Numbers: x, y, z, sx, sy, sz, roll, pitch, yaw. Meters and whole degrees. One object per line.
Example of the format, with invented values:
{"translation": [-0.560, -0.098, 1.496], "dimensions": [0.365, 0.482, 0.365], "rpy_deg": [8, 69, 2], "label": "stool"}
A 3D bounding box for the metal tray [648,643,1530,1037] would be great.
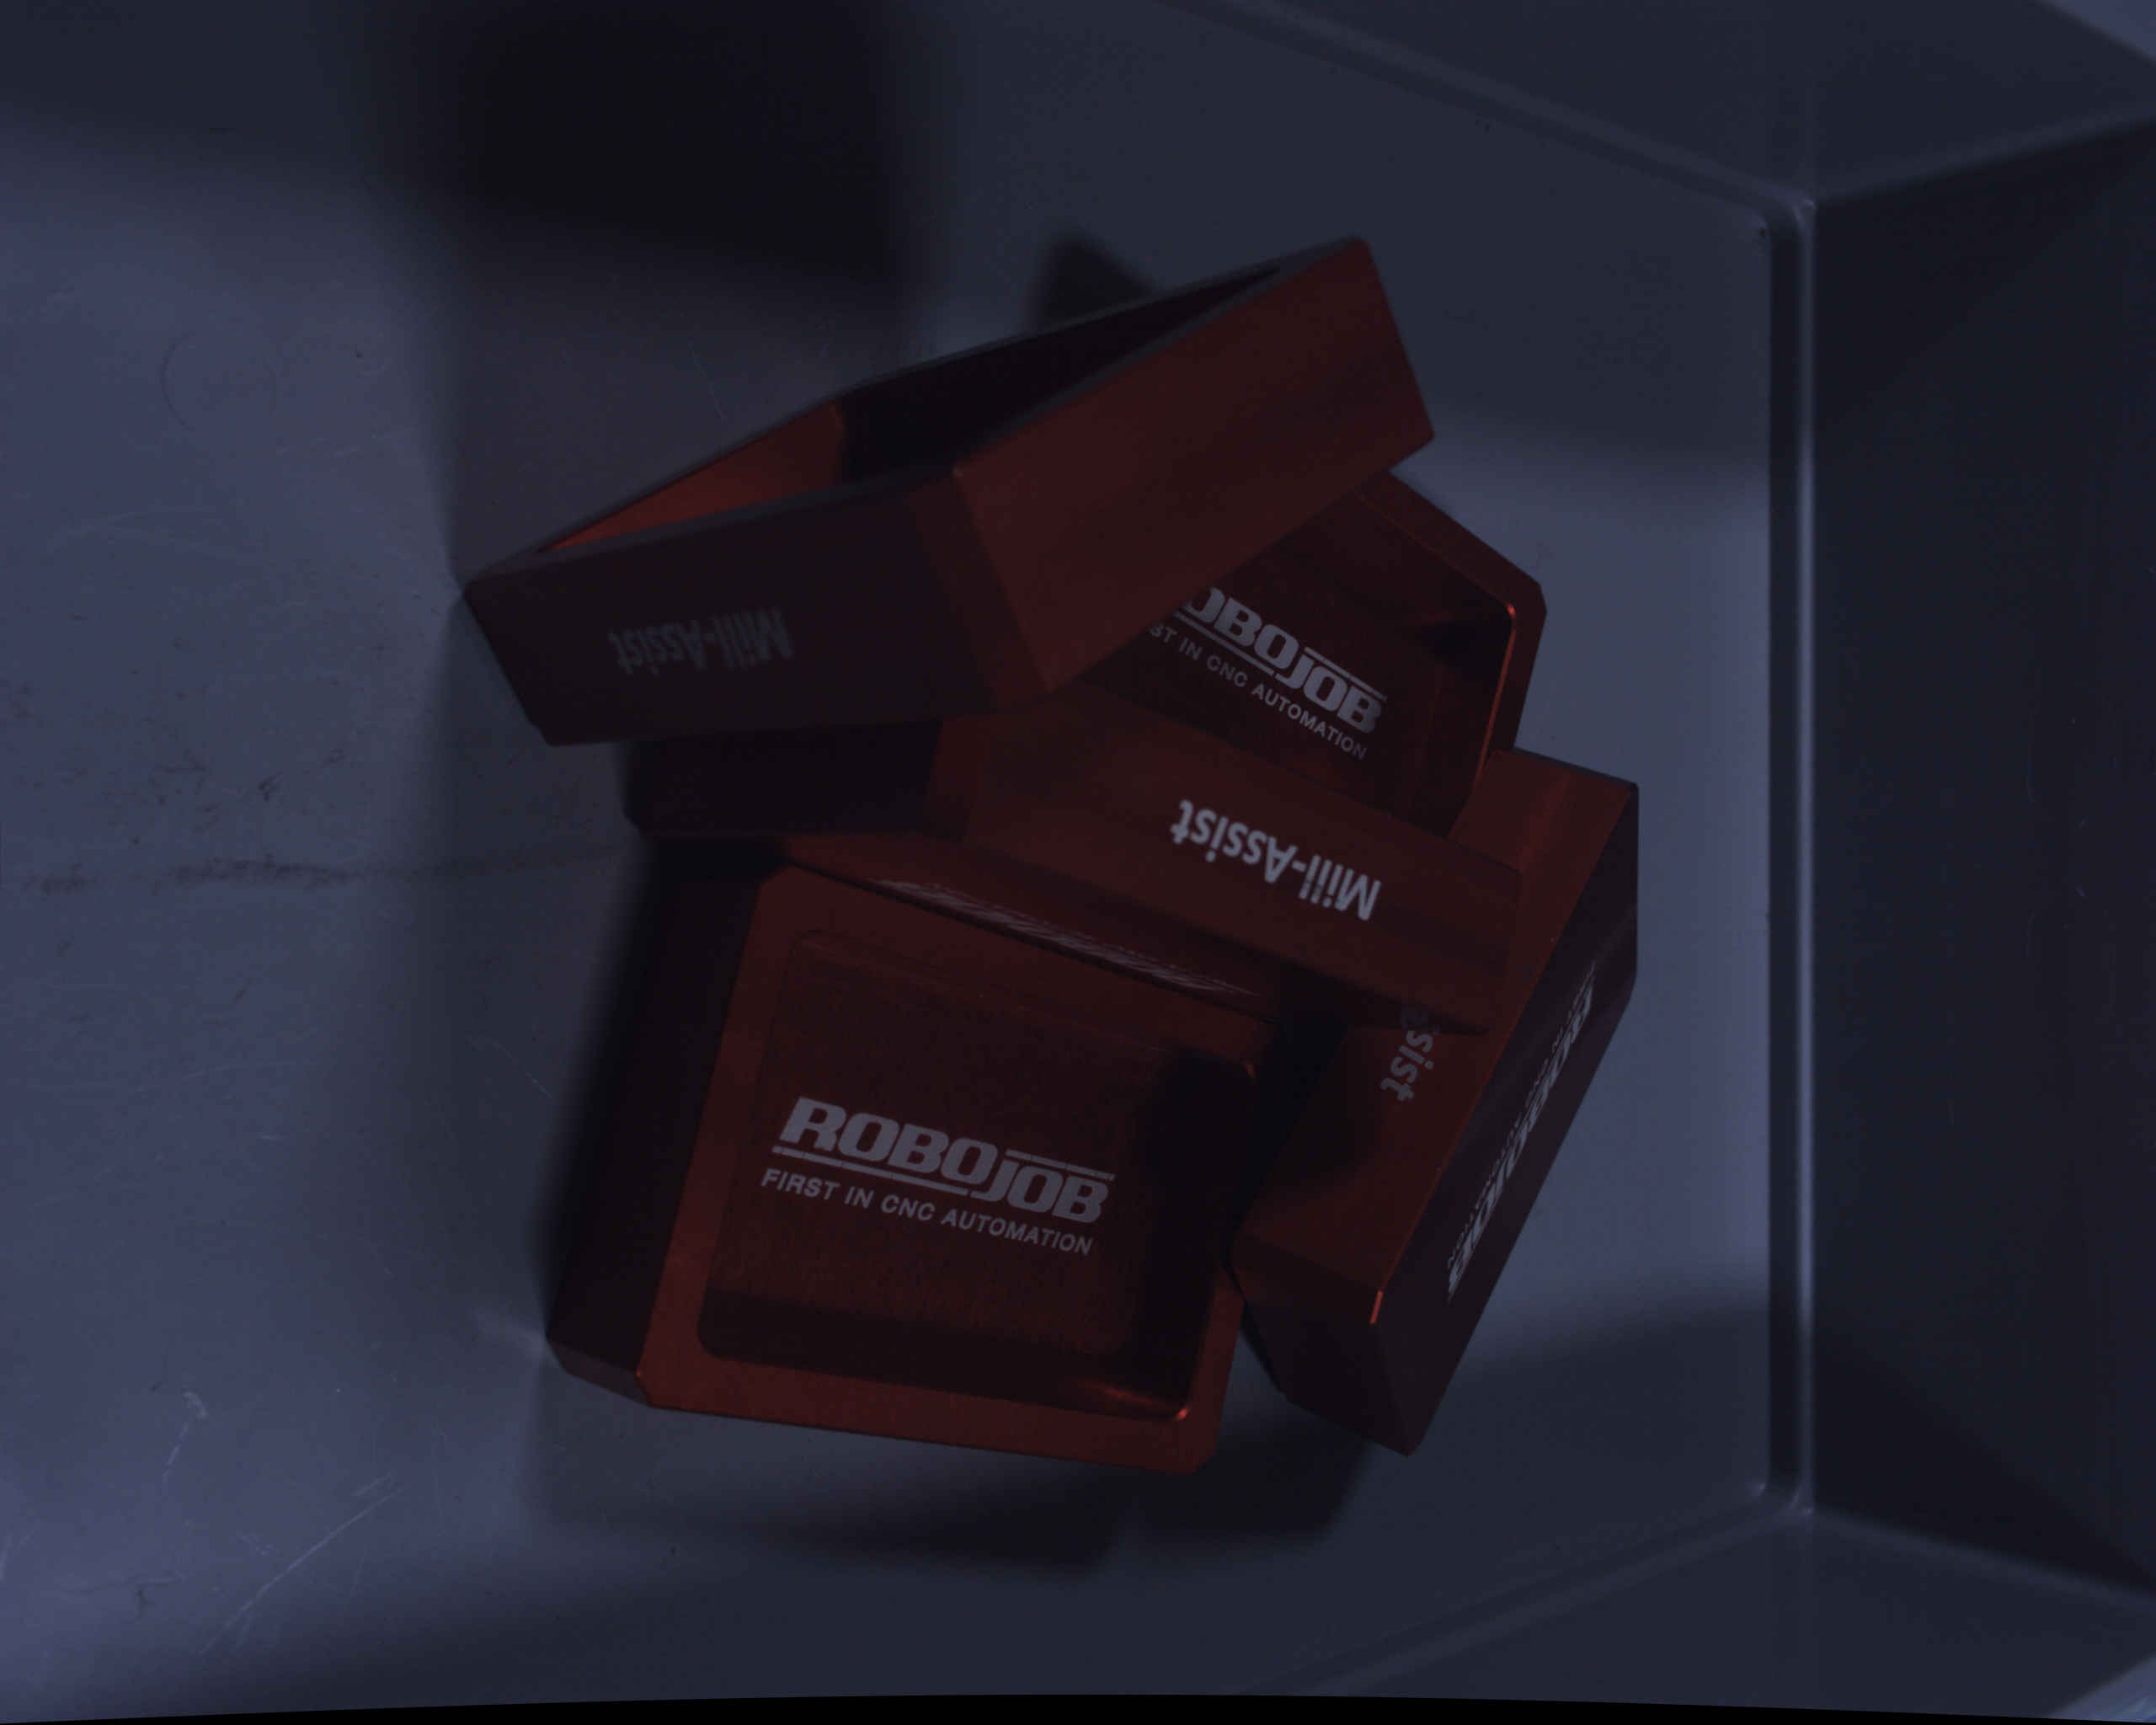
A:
{"translation": [0.004, 0.000, 0.366], "dimensions": [0.131, 0.090, 0.030], "rpy_deg": [20, 78, -39], "label": "metal tray"}

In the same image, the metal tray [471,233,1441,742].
{"translation": [-0.023, -0.054, 0.317], "dimensions": [0.091, 0.130, 0.030], "rpy_deg": [-37, 113, -34], "label": "metal tray"}

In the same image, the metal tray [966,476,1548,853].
{"translation": [0.040, -0.043, 0.437], "dimensions": [0.131, 0.030, 0.090], "rpy_deg": [27, 73, -37], "label": "metal tray"}

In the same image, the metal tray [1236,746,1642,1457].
{"translation": [0.083, 0.051, 0.447], "dimensions": [0.130, 0.030, 0.090], "rpy_deg": [-58, 152, -24], "label": "metal tray"}

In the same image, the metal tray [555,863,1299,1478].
{"translation": [-0.021, 0.059, 0.384], "dimensions": [0.131, 0.030, 0.090], "rpy_deg": [20, 77, -38], "label": "metal tray"}
